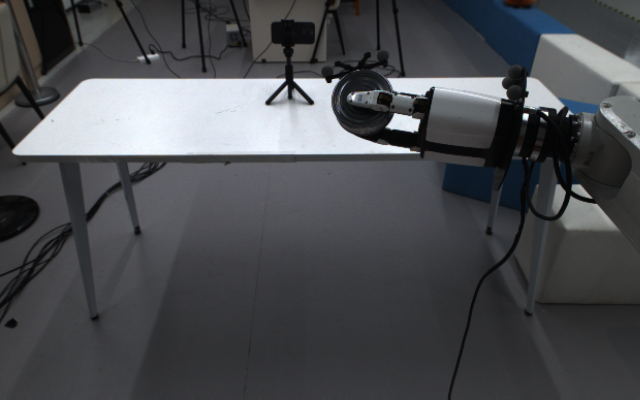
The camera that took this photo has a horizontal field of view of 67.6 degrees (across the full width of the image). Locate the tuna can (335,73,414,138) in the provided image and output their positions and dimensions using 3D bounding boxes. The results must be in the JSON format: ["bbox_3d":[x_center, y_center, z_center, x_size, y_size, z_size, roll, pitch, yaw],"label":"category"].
[{"bbox_3d":[0.063,-0.129,0.659,0.085,0.085,0.034,13,-6,15],"label":"tuna can"}]
